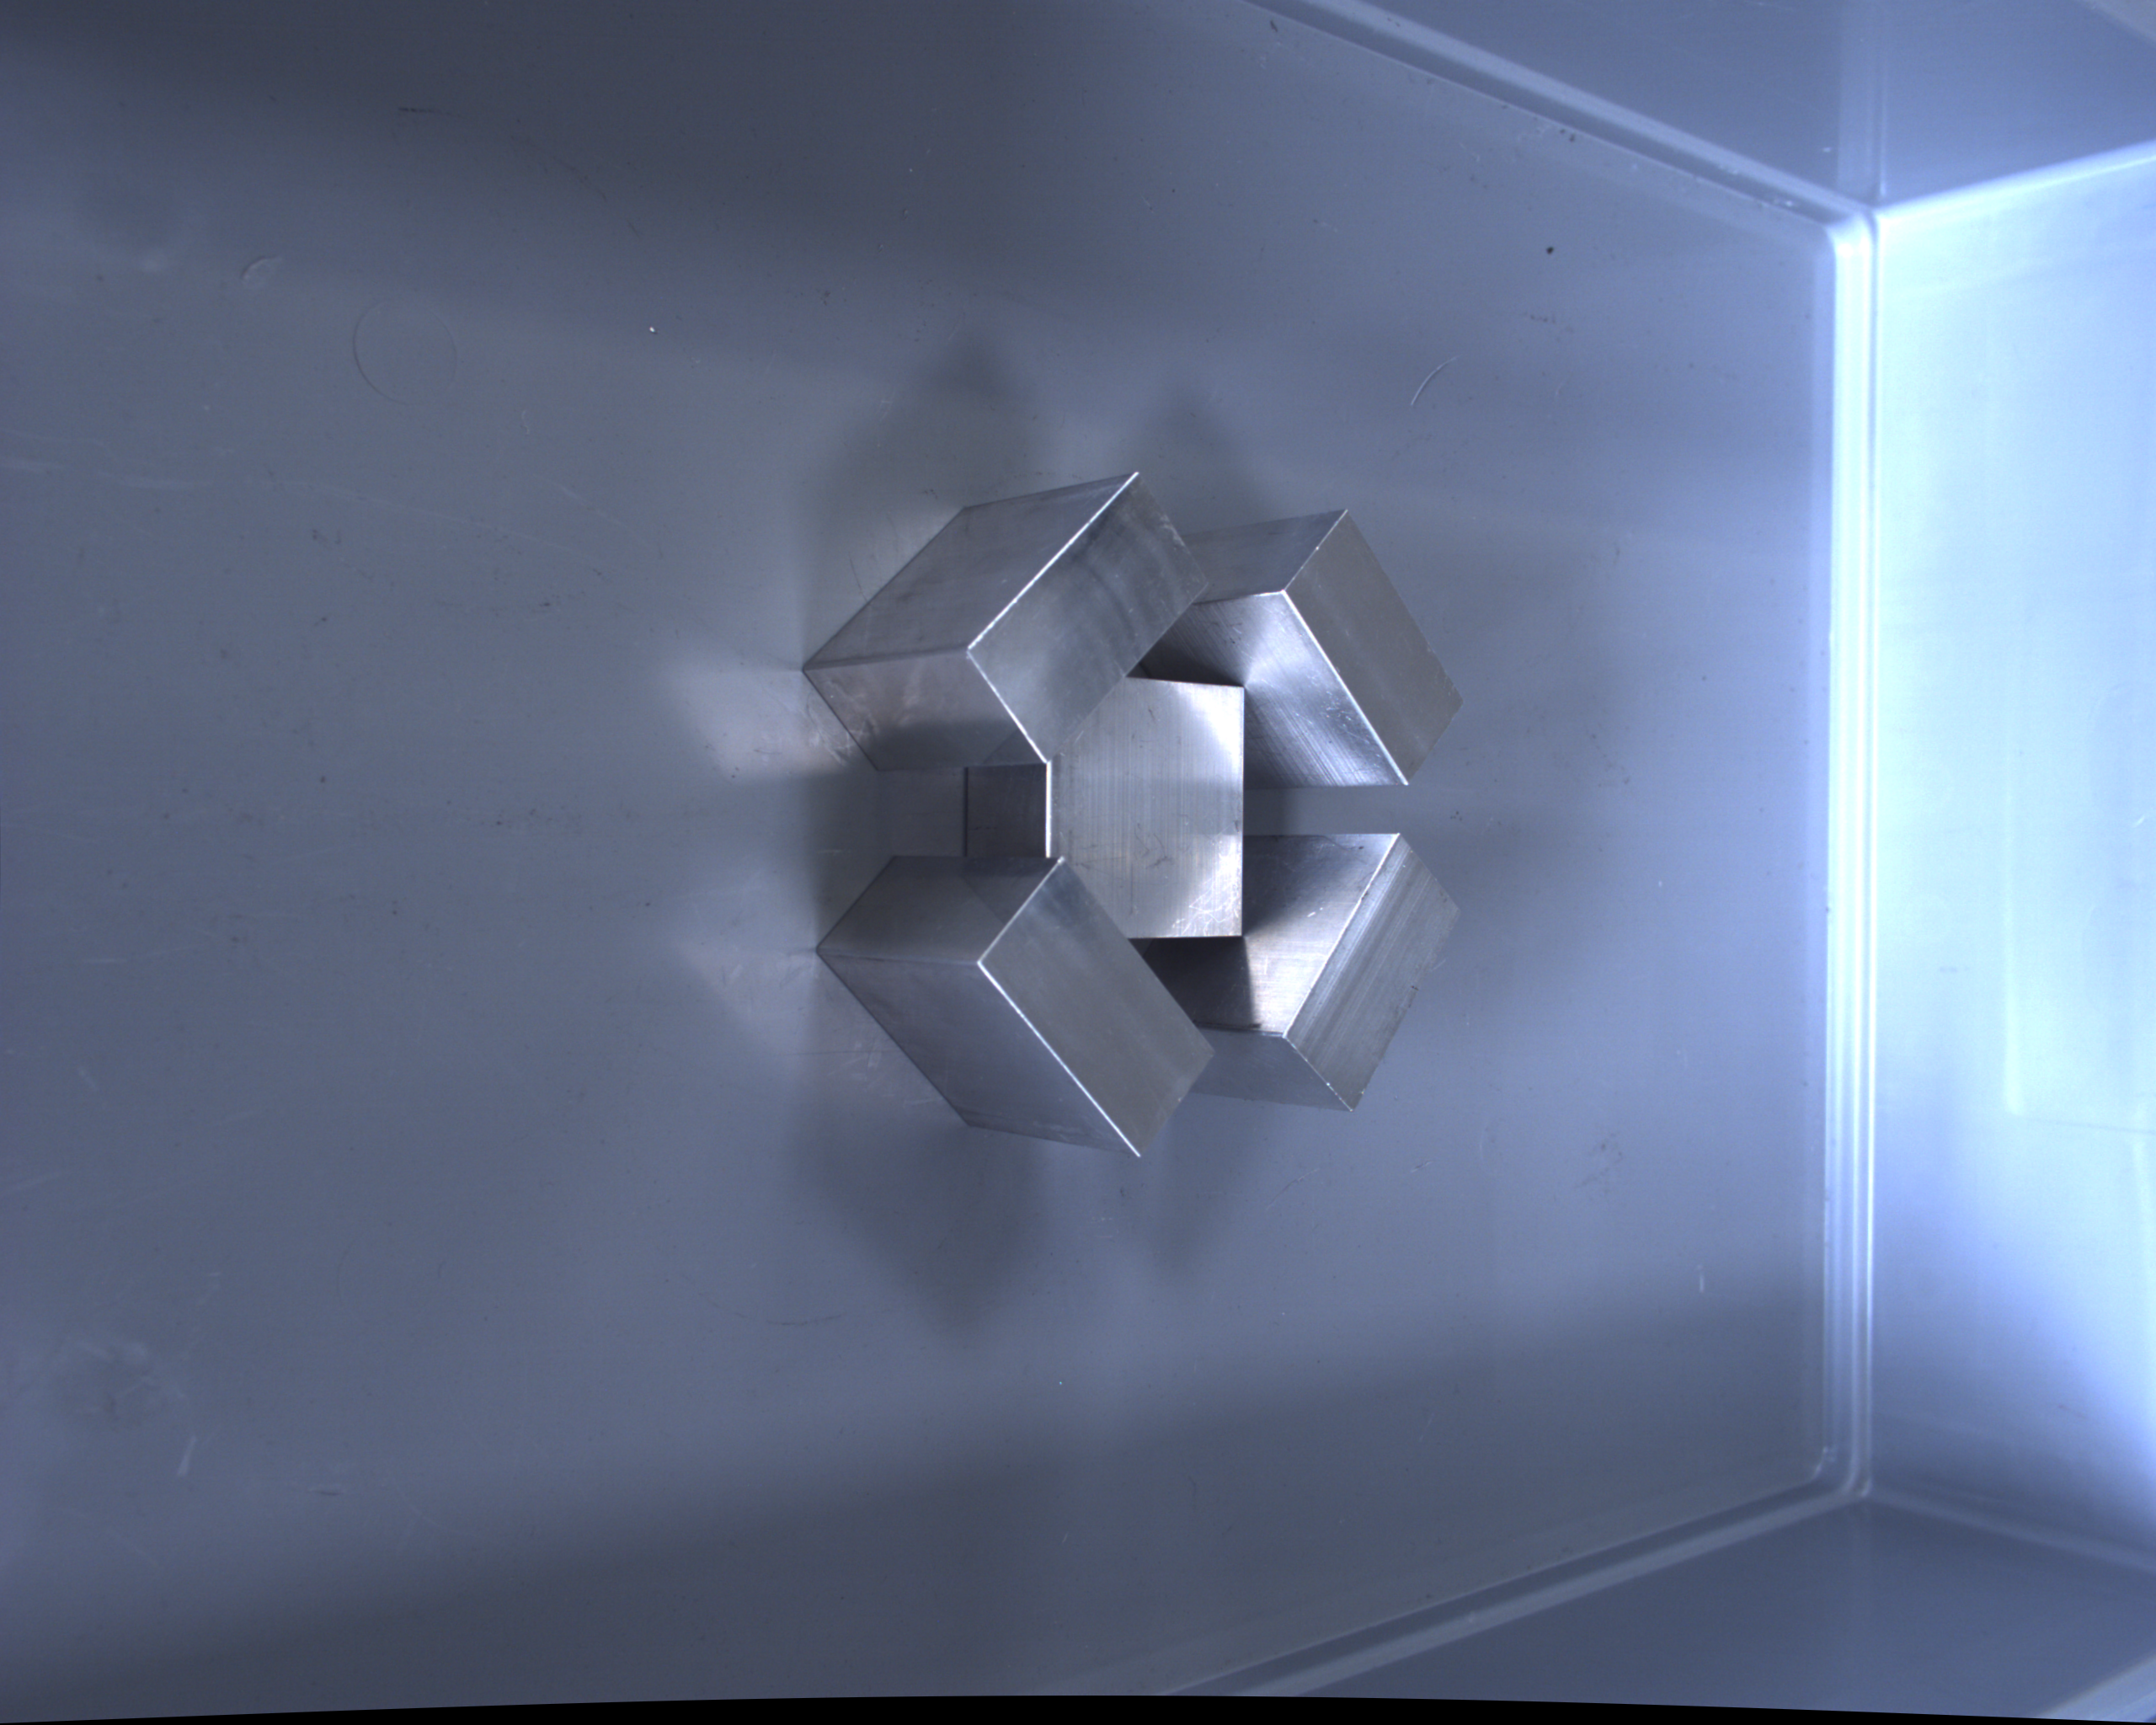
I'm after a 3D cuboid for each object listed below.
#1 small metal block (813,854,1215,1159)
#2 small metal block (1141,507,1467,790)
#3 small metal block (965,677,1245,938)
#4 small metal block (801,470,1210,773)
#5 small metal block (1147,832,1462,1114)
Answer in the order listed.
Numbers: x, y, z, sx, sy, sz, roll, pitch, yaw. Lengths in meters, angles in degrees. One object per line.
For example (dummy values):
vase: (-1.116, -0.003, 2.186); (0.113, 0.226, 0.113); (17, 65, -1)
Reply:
small metal block: (-0.012, 0.025, 0.378); (0.025, 0.050, 0.050); (-52, 120, -26)
small metal block: (0.042, -0.042, 0.422); (0.025, 0.050, 0.050); (-53, 122, -28)
small metal block: (0.006, -0.011, 0.408); (0.050, 0.025, 0.050); (1, 90, -40)
small metal block: (-0.013, -0.043, 0.376); (0.050, 0.050, 0.025); (-49, 119, -28)
small metal block: (0.041, 0.021, 0.422); (0.025, 0.050, 0.050); (49, 60, -30)
